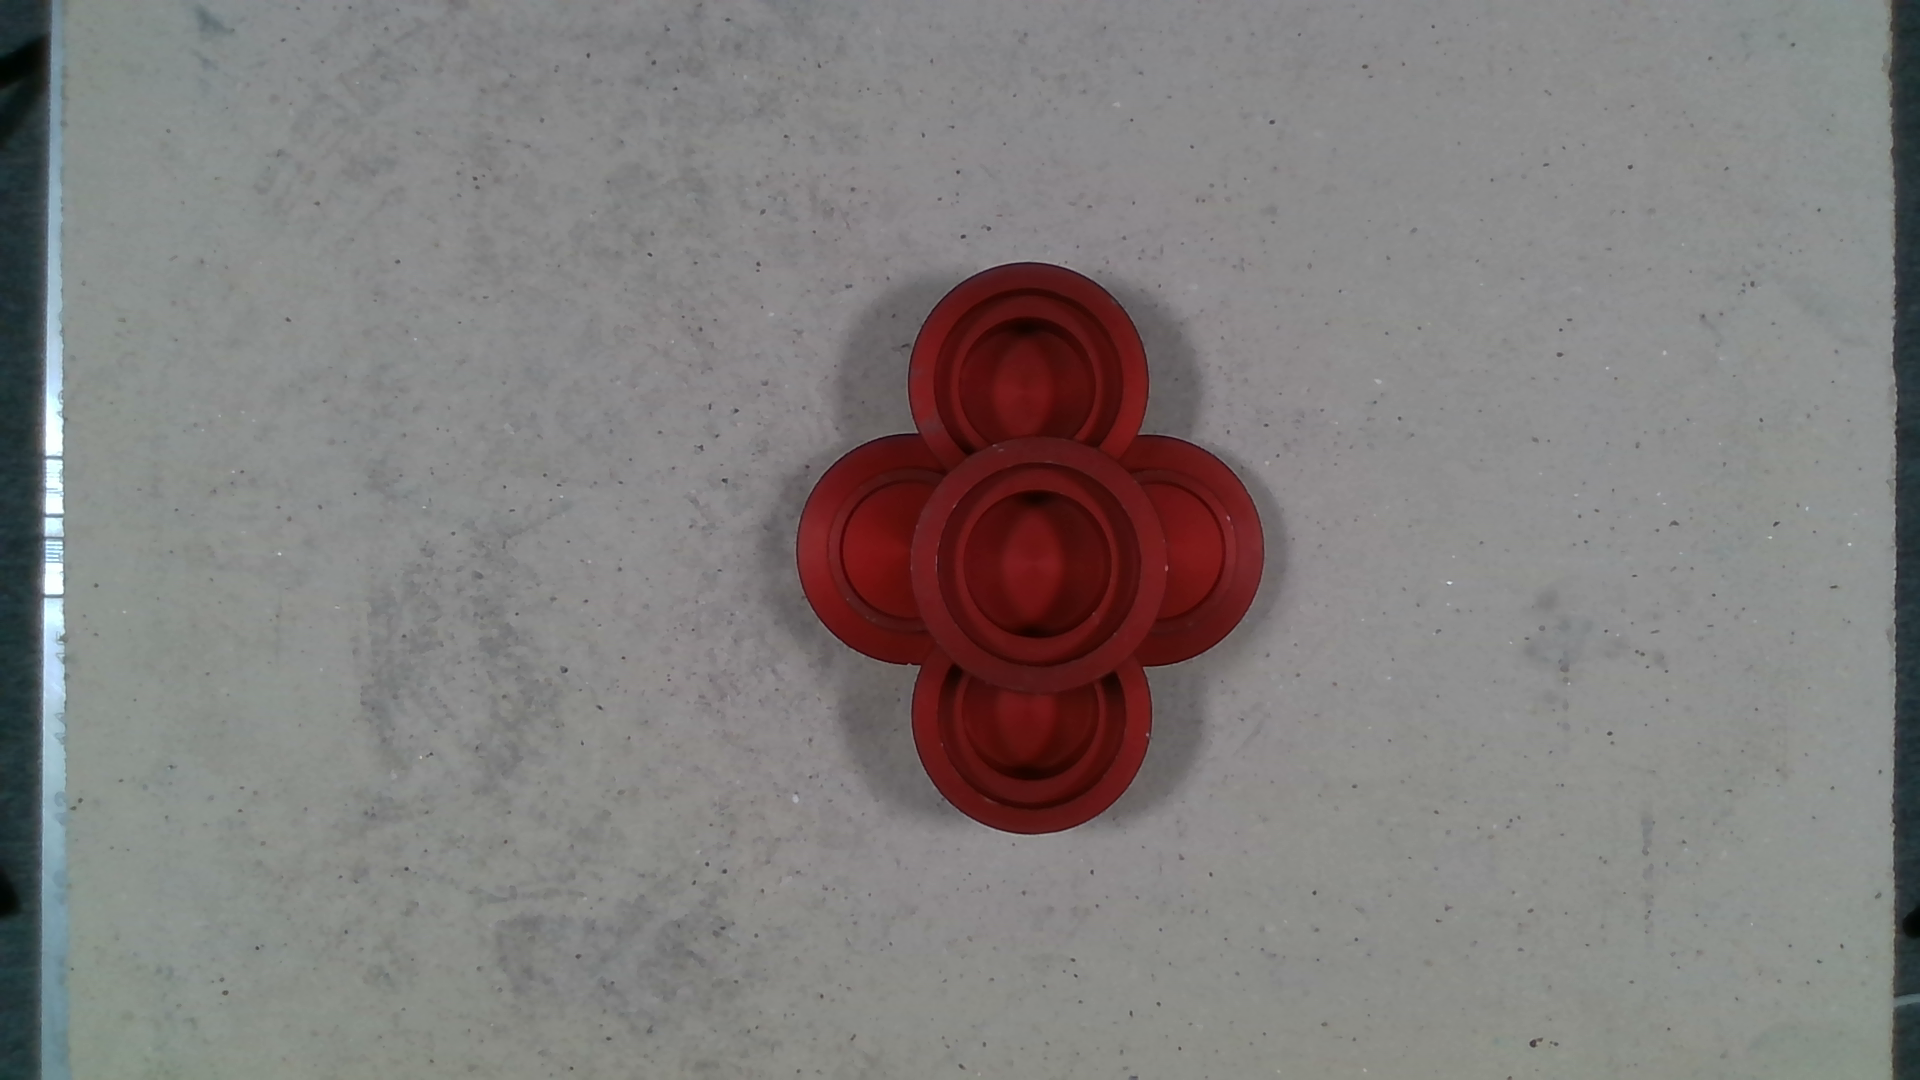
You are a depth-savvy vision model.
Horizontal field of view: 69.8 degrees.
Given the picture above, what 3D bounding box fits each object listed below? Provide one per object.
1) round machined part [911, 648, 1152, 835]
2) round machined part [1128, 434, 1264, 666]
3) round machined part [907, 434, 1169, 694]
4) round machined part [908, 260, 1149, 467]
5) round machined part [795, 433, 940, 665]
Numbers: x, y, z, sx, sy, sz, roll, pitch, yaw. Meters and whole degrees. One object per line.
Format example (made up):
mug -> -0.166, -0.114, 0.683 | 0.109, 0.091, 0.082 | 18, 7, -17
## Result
round machined part -> 0.029, 0.071, 0.579 | 0.098, 0.042, 0.098 | 0, 90, 0
round machined part -> 0.079, 0.004, 0.579 | 0.098, 0.042, 0.098 | 0, 90, 0
round machined part -> 0.029, 0.009, 0.536 | 0.098, 0.042, 0.098 | 0, 90, 0
round machined part -> 0.028, -0.065, 0.578 | 0.098, 0.042, 0.098 | 0, 90, 0
round machined part -> -0.020, 0.004, 0.578 | 0.098, 0.042, 0.098 | 0, 90, 0
